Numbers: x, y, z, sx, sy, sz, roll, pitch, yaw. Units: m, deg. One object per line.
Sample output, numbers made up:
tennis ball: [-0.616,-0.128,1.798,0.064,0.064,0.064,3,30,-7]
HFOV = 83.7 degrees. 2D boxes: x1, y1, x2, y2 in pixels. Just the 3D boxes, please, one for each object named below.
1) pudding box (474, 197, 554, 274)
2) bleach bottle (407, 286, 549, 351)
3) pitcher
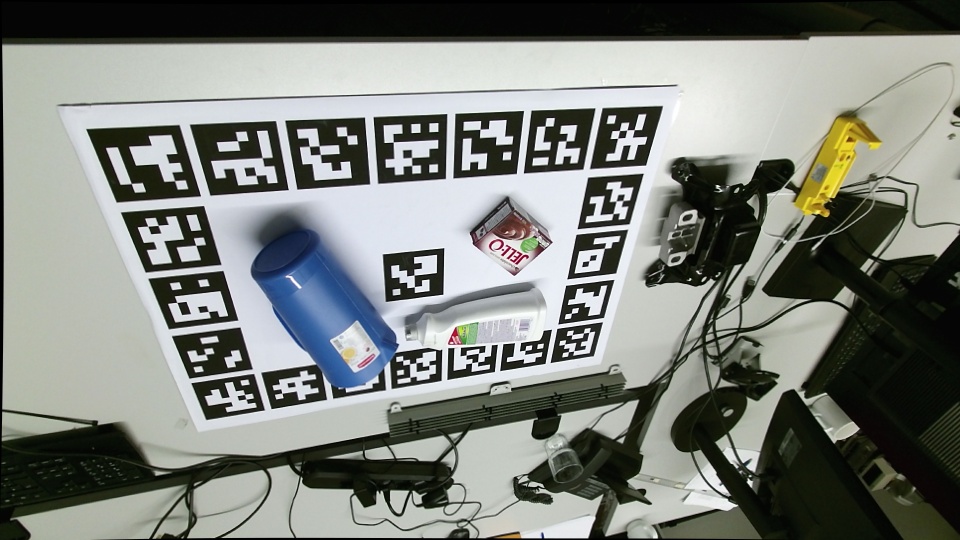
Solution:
pudding box: [0.059,-0.055,0.889,0.090,0.038,0.114,-39,126,18]
bleach bottle: [-0.005,0.098,0.970,0.252,0.067,0.102,-8,122,-10]
pitcher: [-0.248,0.049,0.834,0.189,0.133,0.243,-5,129,29]
